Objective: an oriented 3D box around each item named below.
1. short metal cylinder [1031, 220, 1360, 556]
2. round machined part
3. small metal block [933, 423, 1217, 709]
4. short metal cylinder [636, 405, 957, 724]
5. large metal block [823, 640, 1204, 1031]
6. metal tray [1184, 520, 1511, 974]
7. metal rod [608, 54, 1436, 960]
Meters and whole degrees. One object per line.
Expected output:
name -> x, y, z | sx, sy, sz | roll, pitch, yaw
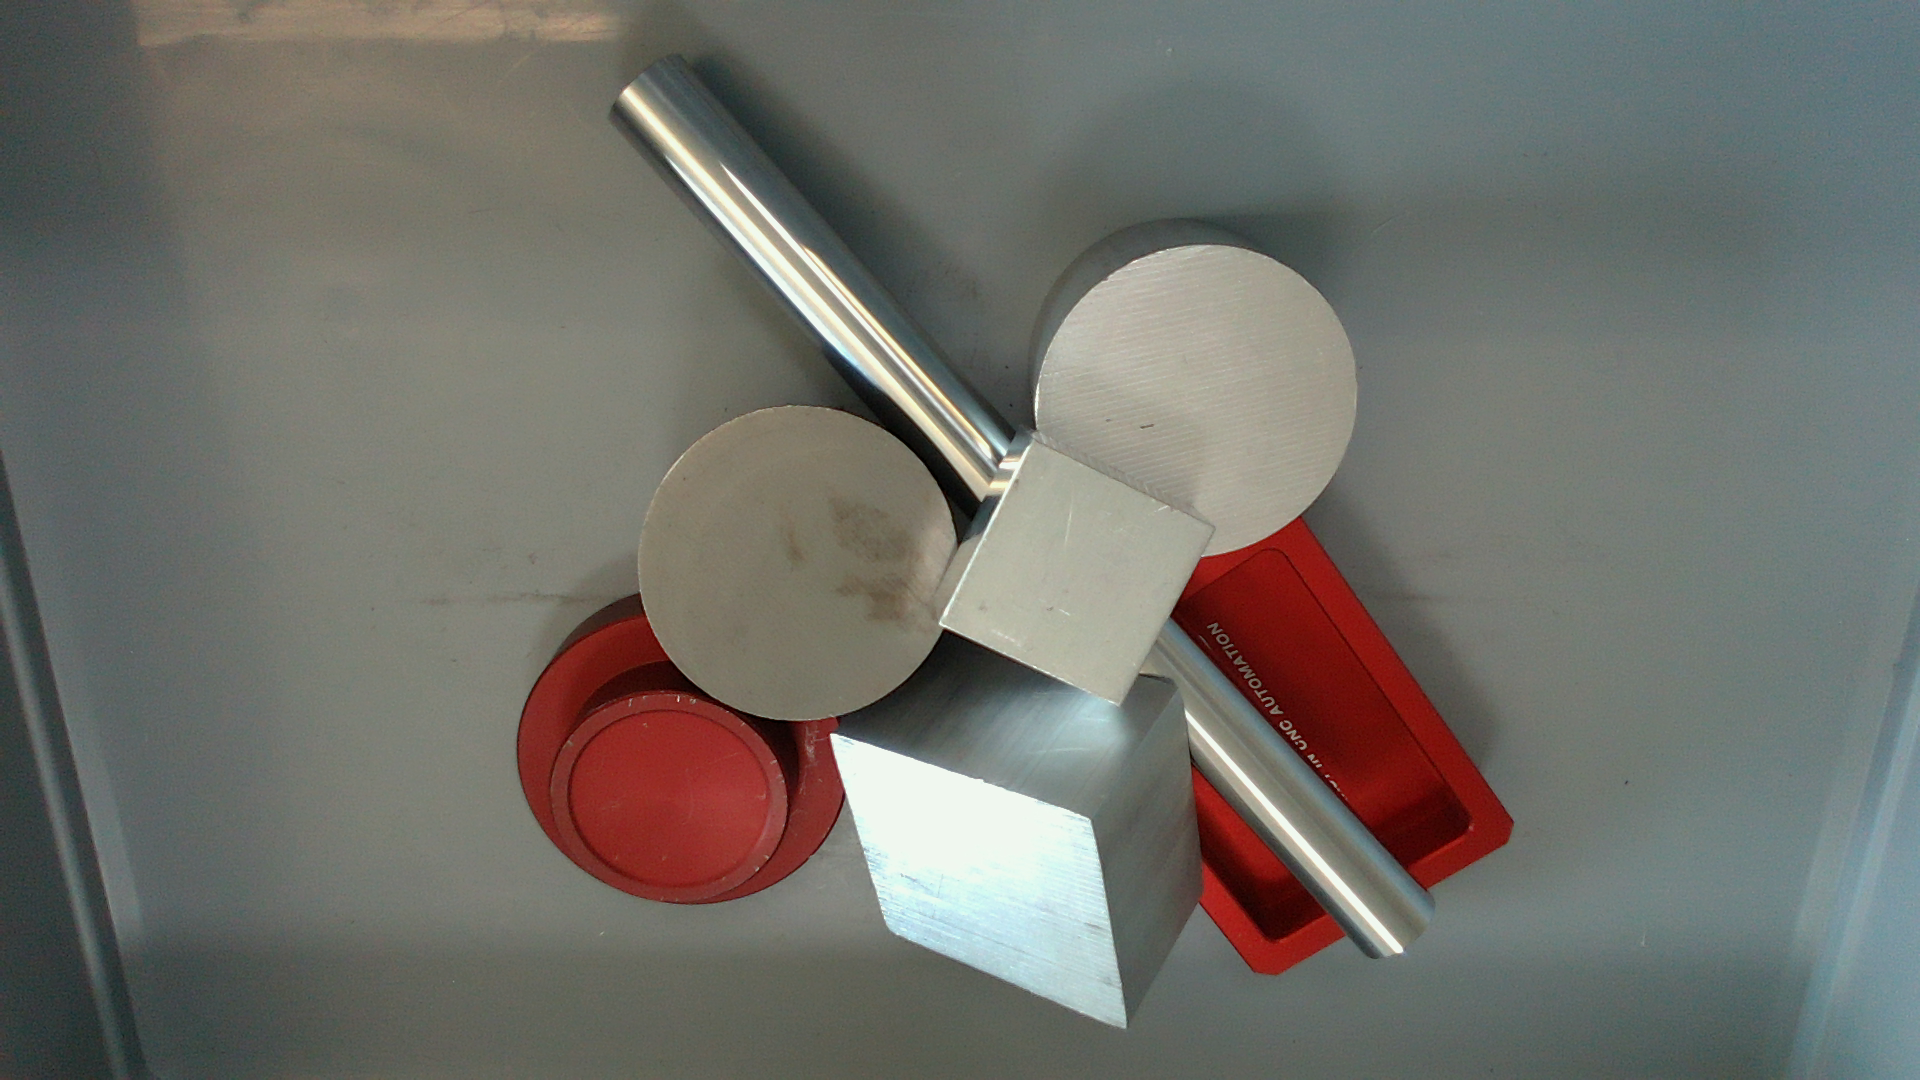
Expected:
short metal cylinder -> 0.059, -0.042, 0.365 | 0.080, 0.050, 0.080 | 0, 110, 0
round machined part -> -0.082, 0.067, 0.407 | 0.098, 0.042, 0.098 | 0, 110, 0
small metal block -> 0.027, 0.006, 0.339 | 0.050, 0.025, 0.050 | 25, 100, -9
short metal cylinder -> -0.043, 0.005, 0.369 | 0.080, 0.050, 0.080 | -1, 94, -8
large metal block -> 0.017, 0.077, 0.380 | 0.080, 0.050, 0.080 | 12, 131, 31
metal tray -> 0.091, 0.058, 0.411 | 0.090, 0.030, 0.130 | -35, 107, 12
metal rod -> 0.021, -0.004, 0.365 | 0.025, 0.025, 0.300 | -41, 96, 14
